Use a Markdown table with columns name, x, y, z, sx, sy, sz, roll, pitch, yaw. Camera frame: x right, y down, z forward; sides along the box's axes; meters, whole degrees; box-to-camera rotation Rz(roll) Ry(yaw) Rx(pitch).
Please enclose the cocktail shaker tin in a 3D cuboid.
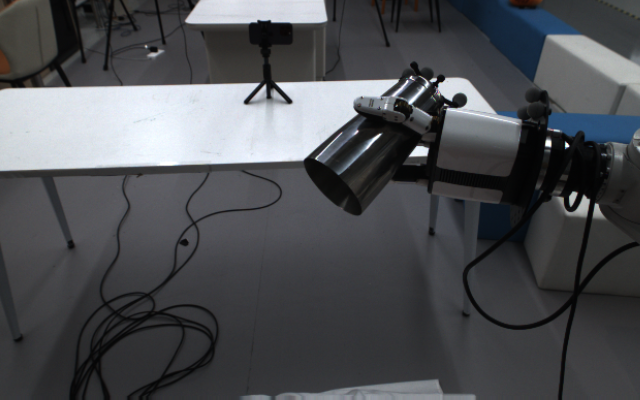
| name | x | y | z | sx | sy | sz | roll | pitch | yaw |
| --- | --- | --- | --- | --- | --- | --- | --- | --- | --- |
| cocktail shaker tin | 0.072 | -0.077 | 0.584 | 0.170 | 0.093 | 0.093 | -43 | 51 | -15 |
